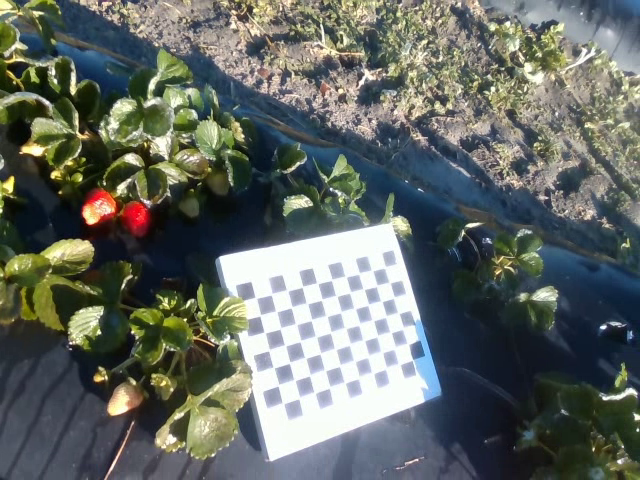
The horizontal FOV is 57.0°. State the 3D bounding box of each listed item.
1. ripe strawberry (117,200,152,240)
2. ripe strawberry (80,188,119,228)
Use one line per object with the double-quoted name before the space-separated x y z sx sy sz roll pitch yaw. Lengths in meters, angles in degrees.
"ripe strawberry" -0.278 -0.035 0.882 0.043 0.059 0.040 -12 -15 -28
"ripe strawberry" -0.330 -0.045 0.872 0.052 0.070 0.040 39 -35 -18
